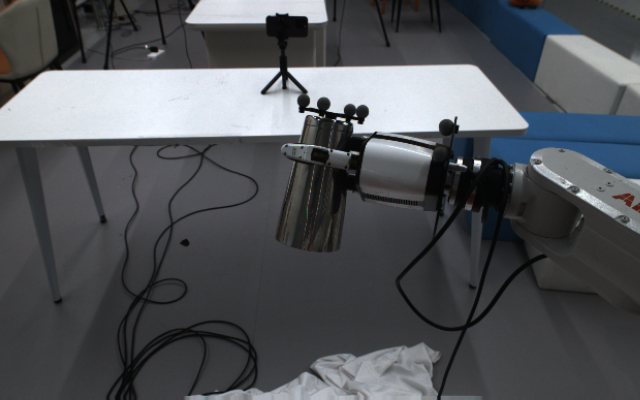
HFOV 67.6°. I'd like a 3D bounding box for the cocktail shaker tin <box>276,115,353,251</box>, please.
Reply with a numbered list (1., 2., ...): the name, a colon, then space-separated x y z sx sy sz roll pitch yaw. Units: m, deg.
1. cocktail shaker tin: 0.001 -0.026 0.659 0.093 0.170 0.093 10 9 -2
